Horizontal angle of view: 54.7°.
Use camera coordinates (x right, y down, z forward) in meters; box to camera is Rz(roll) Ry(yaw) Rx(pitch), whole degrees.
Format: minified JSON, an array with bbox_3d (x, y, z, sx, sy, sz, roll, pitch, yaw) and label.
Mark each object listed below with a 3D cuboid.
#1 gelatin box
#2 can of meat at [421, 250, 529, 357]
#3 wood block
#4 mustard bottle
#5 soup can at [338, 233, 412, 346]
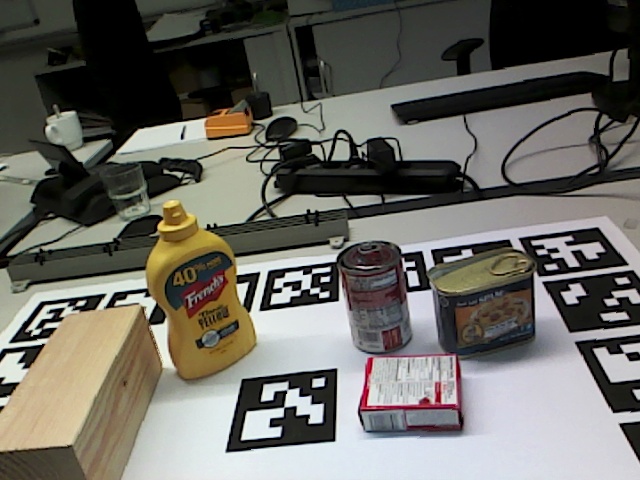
[{"bbox_3d":[0.084,0.138,0.569,0.090,0.030,0.073,-5,29,17],"label":"gelatin box"},{"bbox_3d":[0.159,0.066,0.635,0.101,0.083,0.058,-12,27,-8],"label":"can of meat"},{"bbox_3d":[-0.229,0.156,0.597,0.091,0.089,0.206,-6,23,6],"label":"wood block"},{"bbox_3d":[-0.137,0.055,0.660,0.096,0.191,0.059,-18,26,-18],"label":"mustard bottle"},{"bbox_3d":[0.060,0.053,0.658,0.068,0.101,0.068,-9,28,5],"label":"soup can"}]
